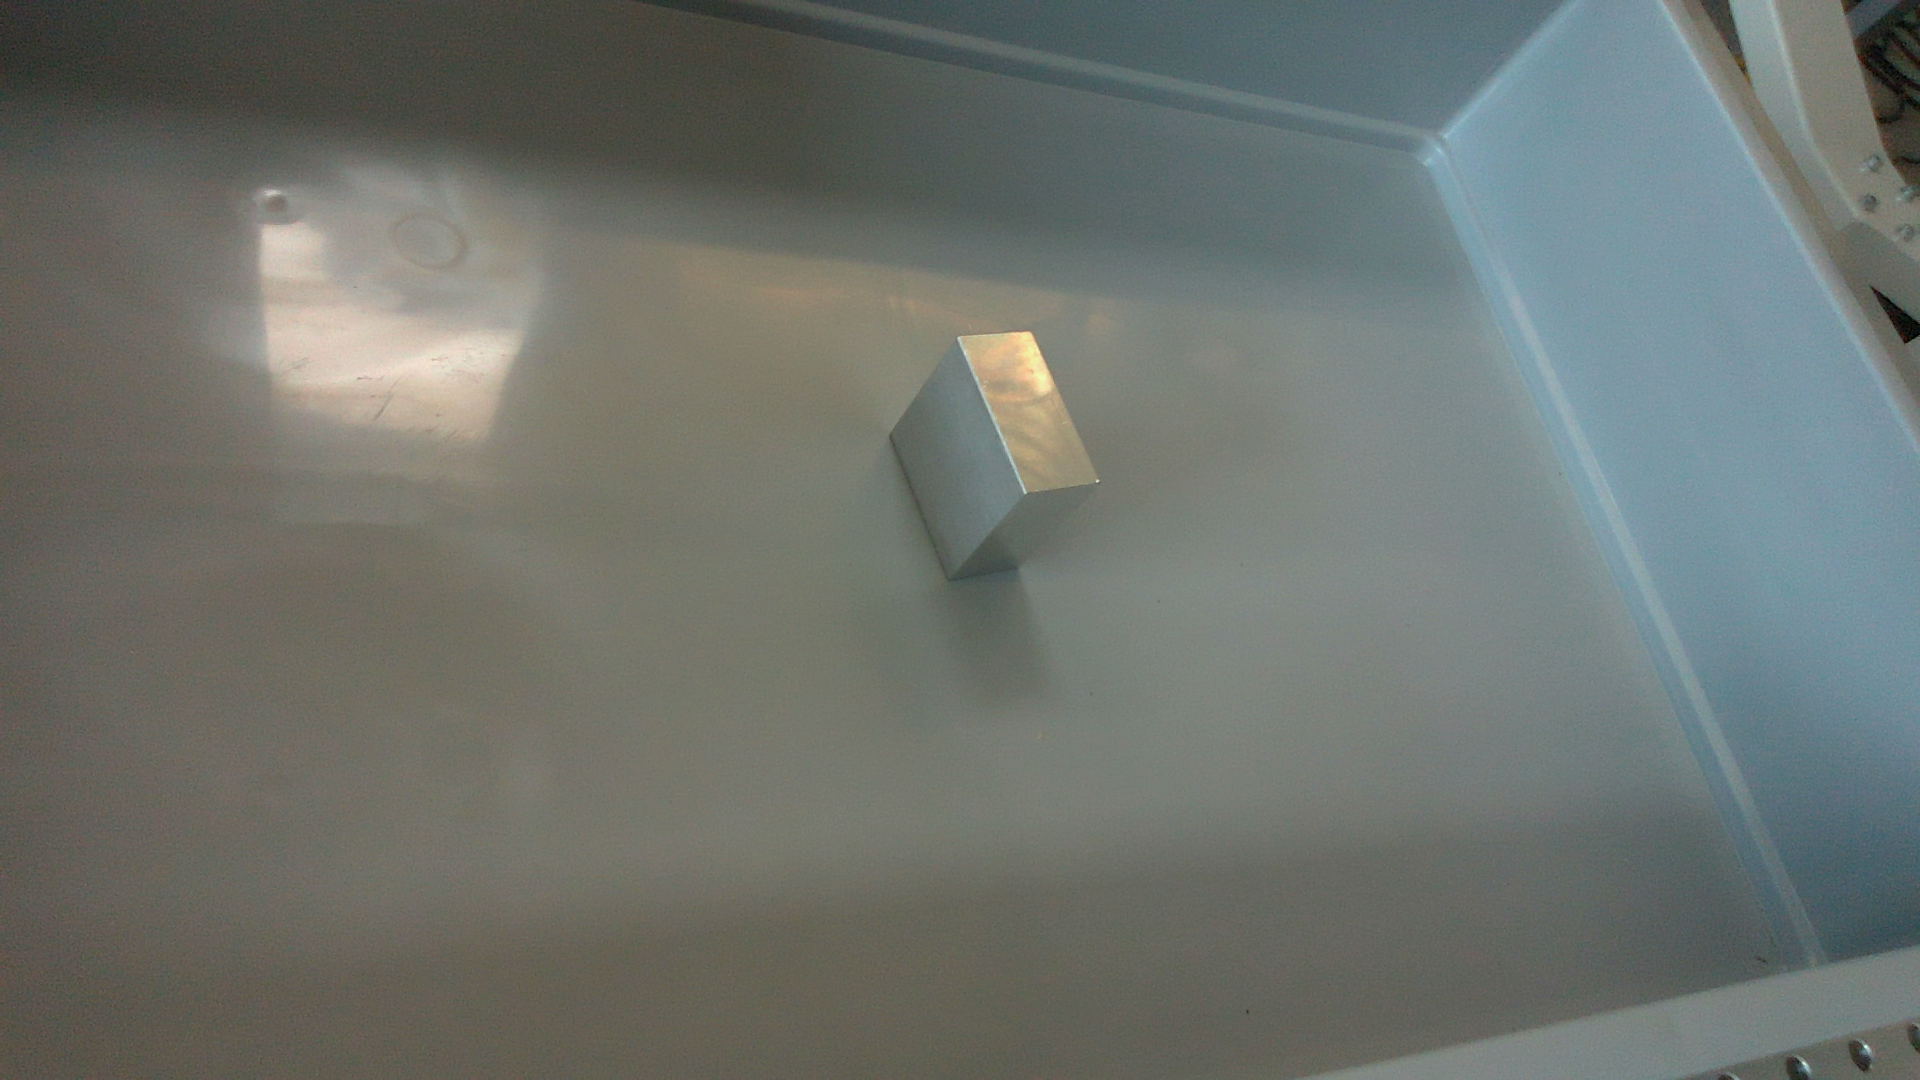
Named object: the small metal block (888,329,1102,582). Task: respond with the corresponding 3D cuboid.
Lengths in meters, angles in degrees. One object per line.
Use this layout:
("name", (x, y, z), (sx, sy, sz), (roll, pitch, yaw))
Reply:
("small metal block", (0.008, -0.024, 0.388), (0.025, 0.050, 0.050), (-9, 66, -32))
